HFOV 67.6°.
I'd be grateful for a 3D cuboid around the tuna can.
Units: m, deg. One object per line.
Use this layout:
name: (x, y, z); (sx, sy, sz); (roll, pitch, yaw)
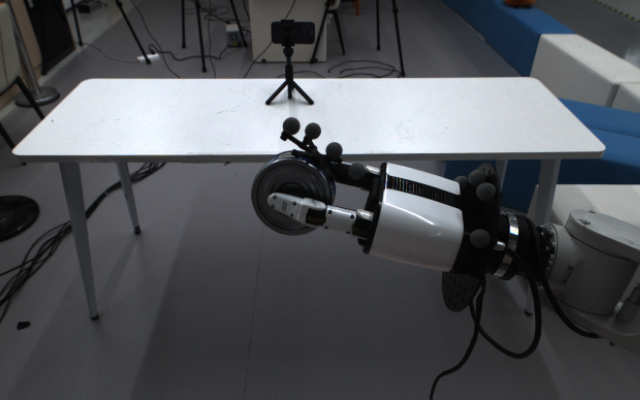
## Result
tuna can: (-0.024, 0.000, 0.506); (0.085, 0.085, 0.034); (6, 19, 6)
